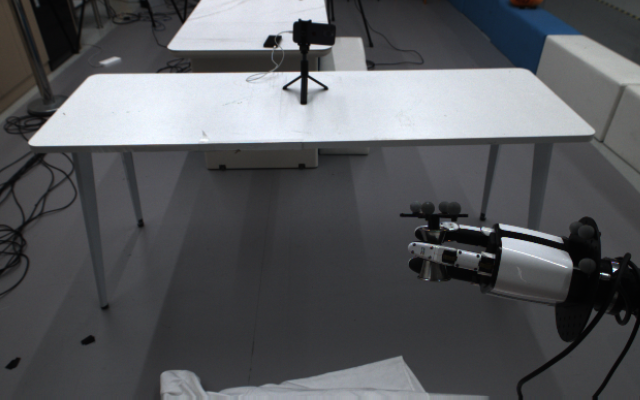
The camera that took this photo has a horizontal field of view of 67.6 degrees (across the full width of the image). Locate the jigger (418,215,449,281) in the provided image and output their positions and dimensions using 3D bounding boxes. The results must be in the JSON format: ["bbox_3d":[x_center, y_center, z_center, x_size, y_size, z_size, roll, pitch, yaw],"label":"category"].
[{"bbox_3d":[0.153,0.070,0.652,0.043,0.071,0.043,-1,2,0],"label":"jigger"}]
